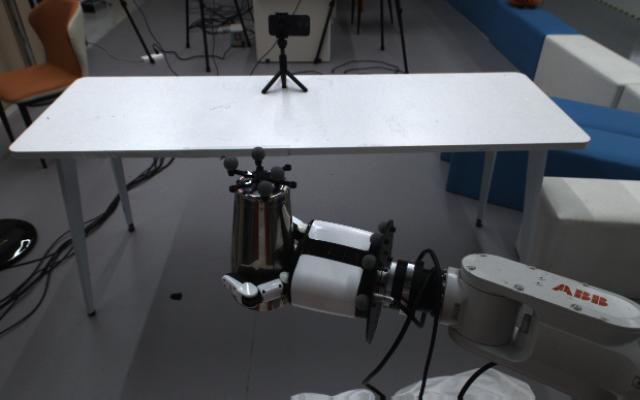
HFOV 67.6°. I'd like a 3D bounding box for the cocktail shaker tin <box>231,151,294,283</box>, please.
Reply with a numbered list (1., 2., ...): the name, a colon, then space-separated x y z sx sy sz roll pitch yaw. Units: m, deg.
1. cocktail shaker tin: -0.073 0.050 0.626 0.093 0.170 0.093 3 34 -2
